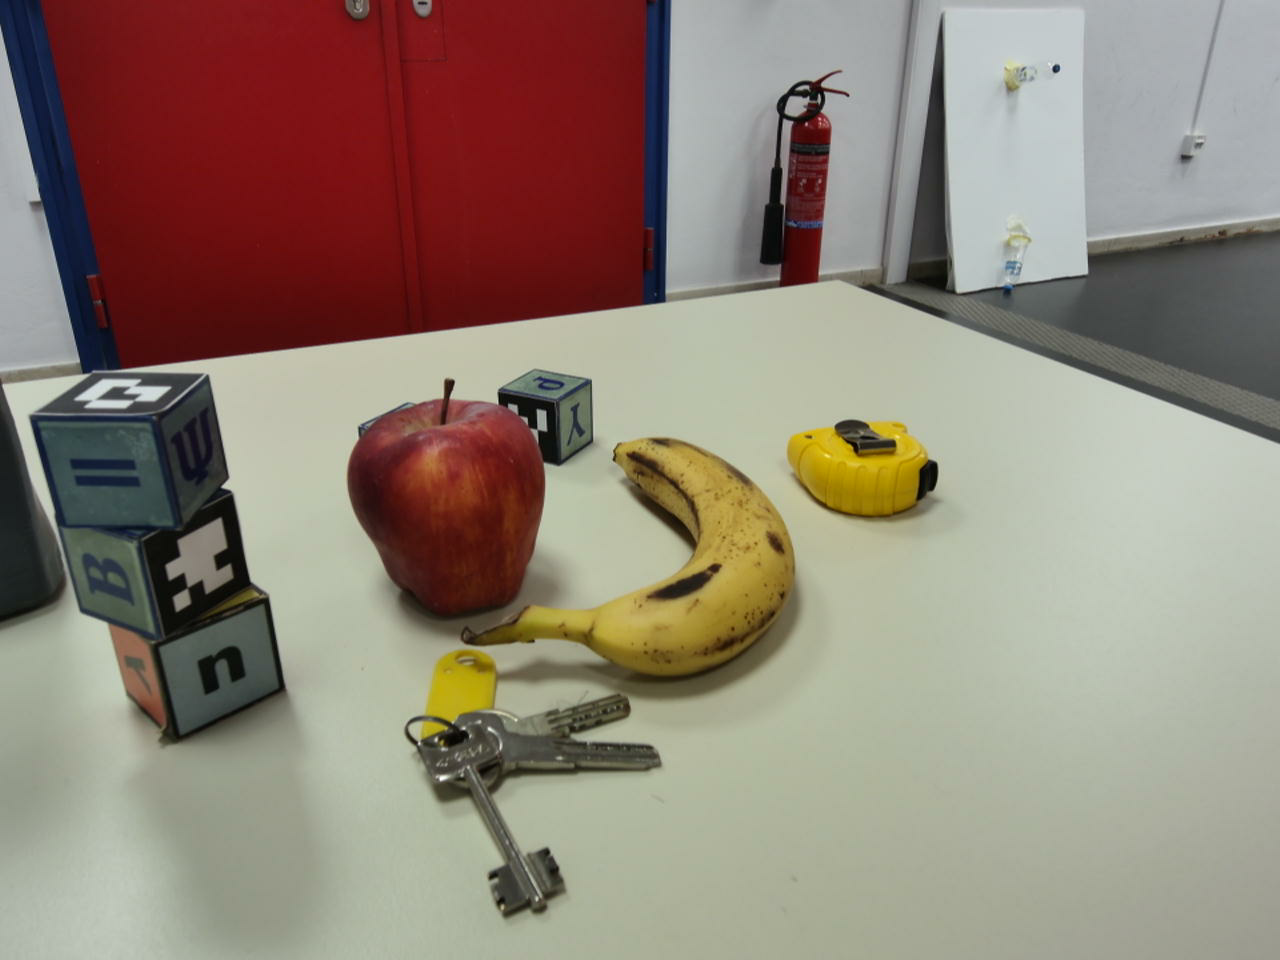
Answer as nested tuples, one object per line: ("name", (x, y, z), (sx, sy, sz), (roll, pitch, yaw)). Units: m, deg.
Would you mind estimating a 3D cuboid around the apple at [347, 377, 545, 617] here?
("apple", (-0.077, 0.004, 0.401), (0.083, 0.090, 0.083), (0, 24, 0))
